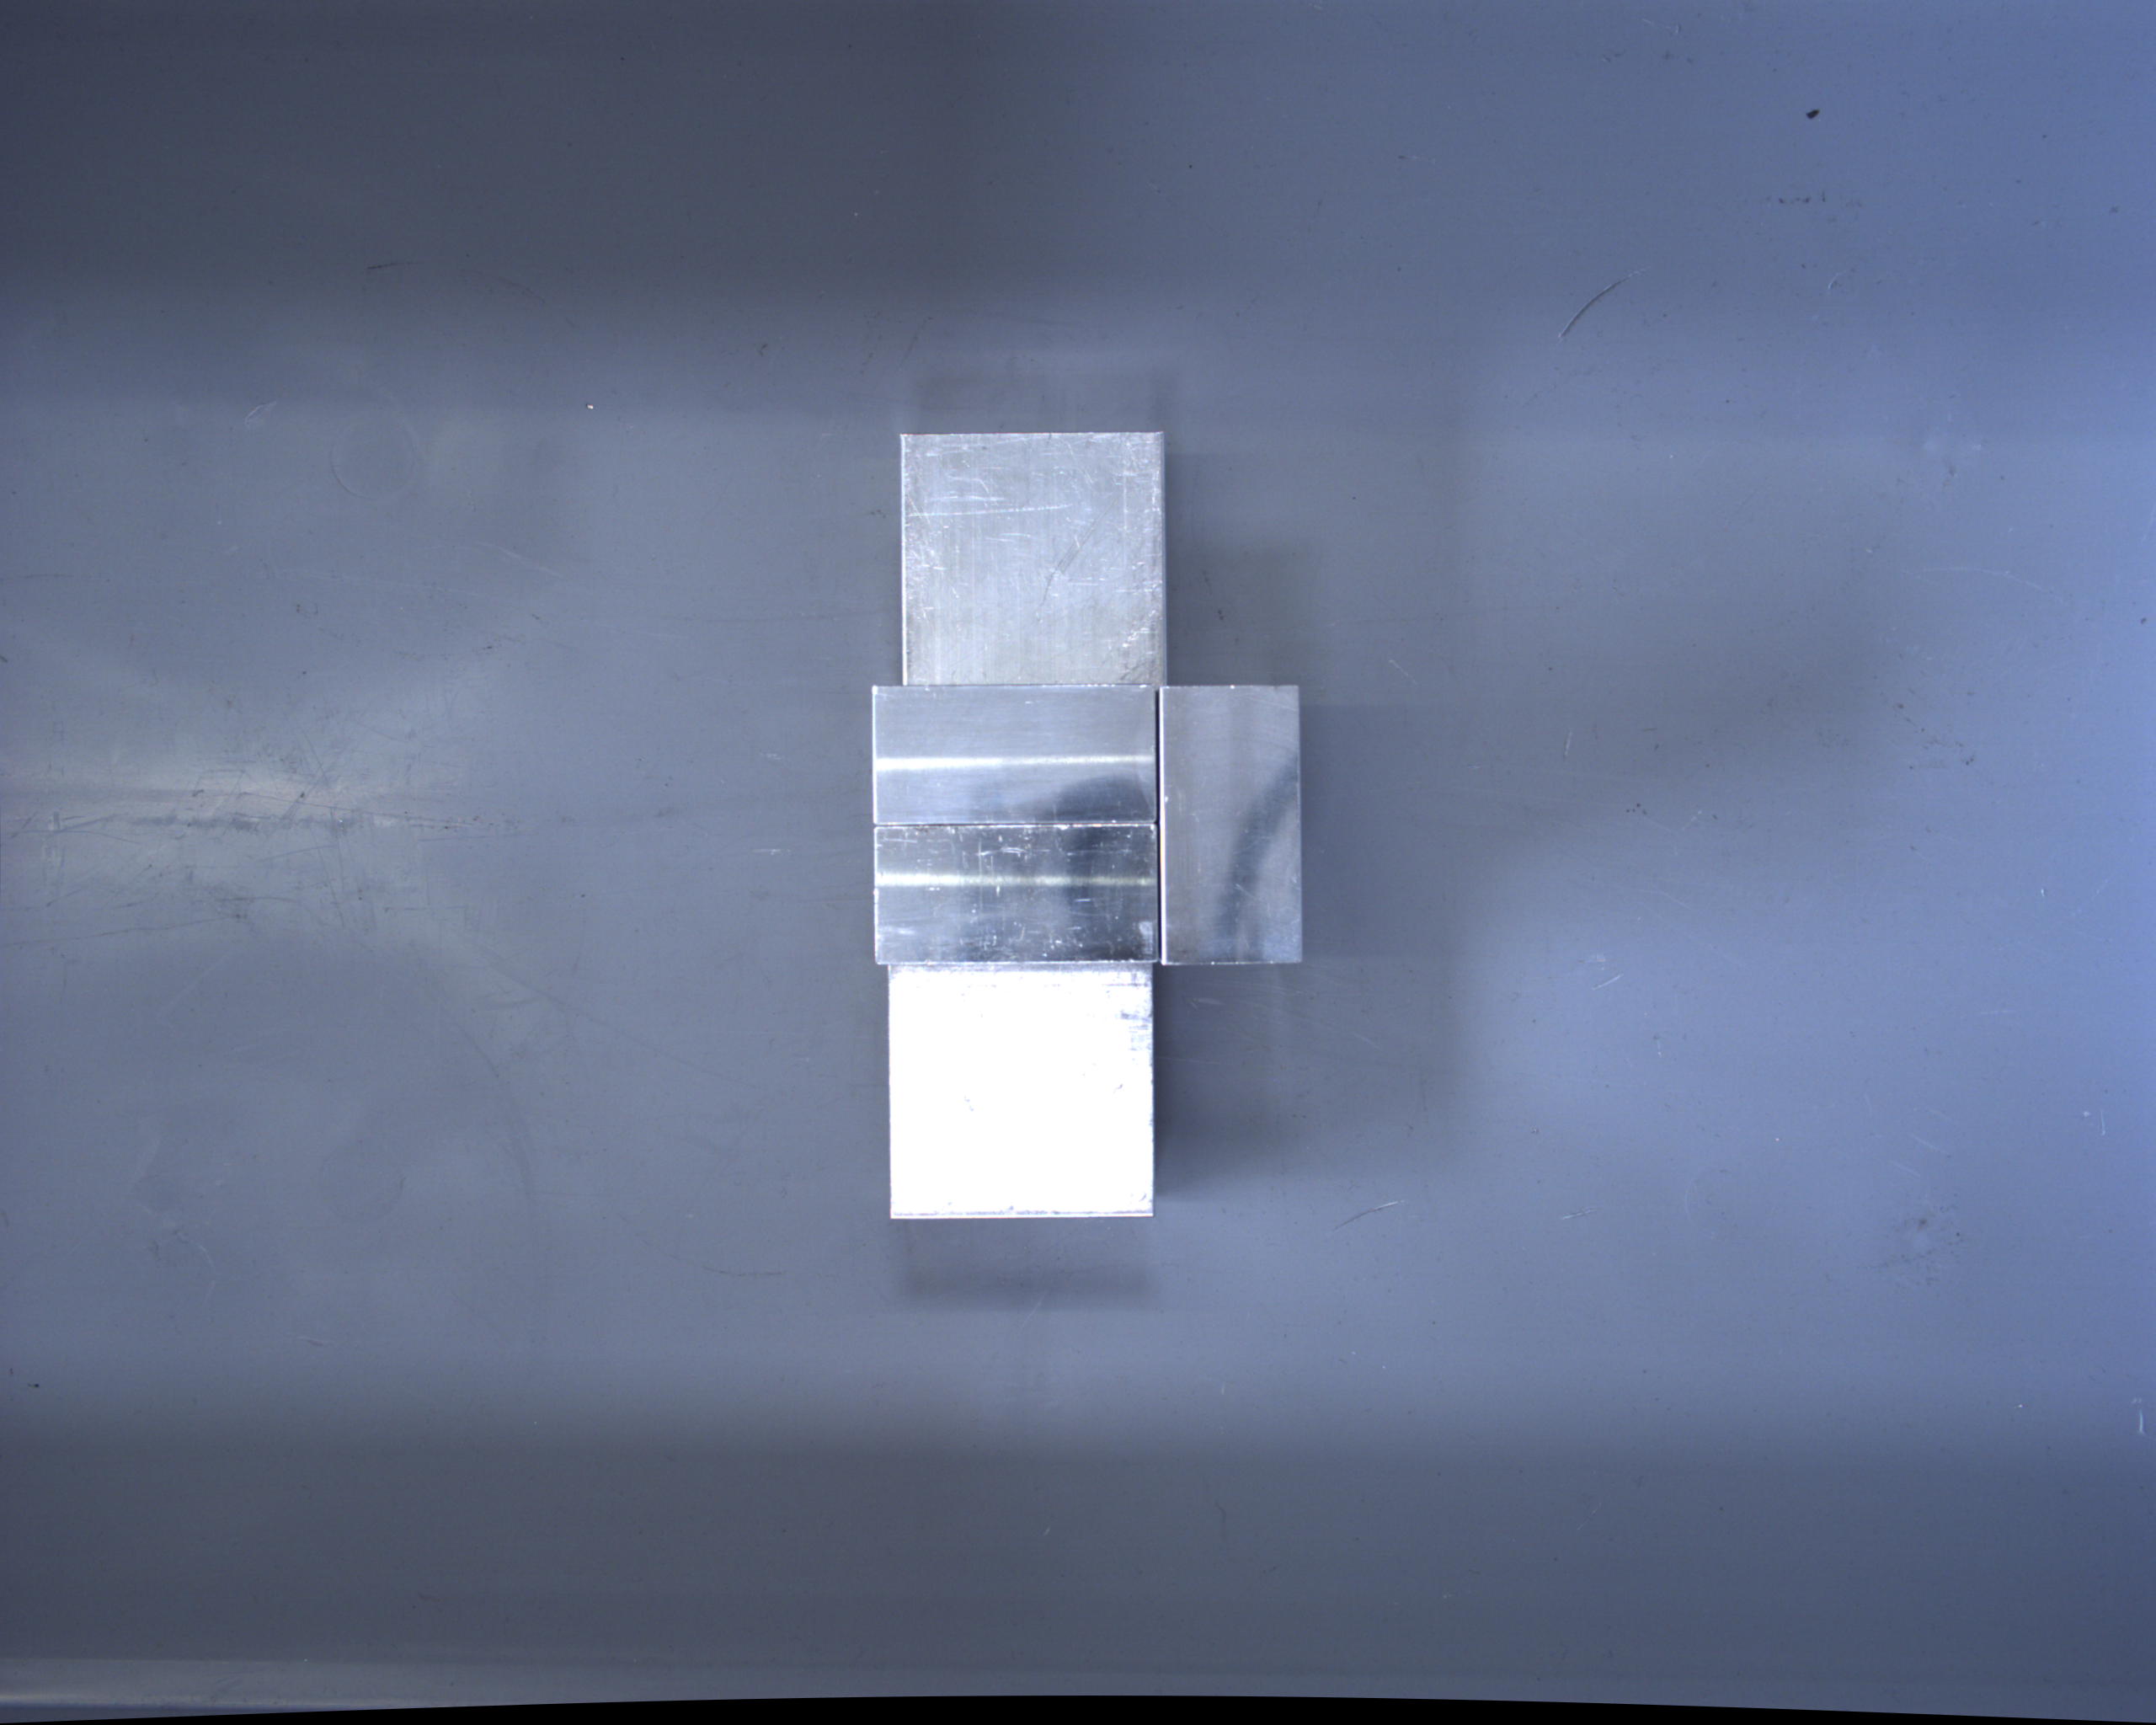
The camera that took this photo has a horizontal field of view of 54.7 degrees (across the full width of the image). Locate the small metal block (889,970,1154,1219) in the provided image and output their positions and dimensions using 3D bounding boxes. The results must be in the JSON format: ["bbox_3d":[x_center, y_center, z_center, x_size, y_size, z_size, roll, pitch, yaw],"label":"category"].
[{"bbox_3d":[-0.011,0.043,0.409,0.050,0.025,0.050,0,90,0],"label":"small metal block"}]

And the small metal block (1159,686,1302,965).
[{"bbox_3d":[0.027,-0.007,0.397,0.025,0.050,0.050,0,90,0],"label":"small metal block"}]

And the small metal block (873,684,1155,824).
[{"bbox_3d":[-0.011,-0.019,0.397,0.050,0.050,0.025,0,90,0],"label":"small metal block"}]

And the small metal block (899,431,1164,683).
[{"bbox_3d":[-0.009,-0.057,0.409,0.050,0.025,0.050,0,90,0],"label":"small metal block"}]

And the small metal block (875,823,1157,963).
[{"bbox_3d":[-0.011,0.005,0.397,0.050,0.050,0.025,0,90,0],"label":"small metal block"}]
